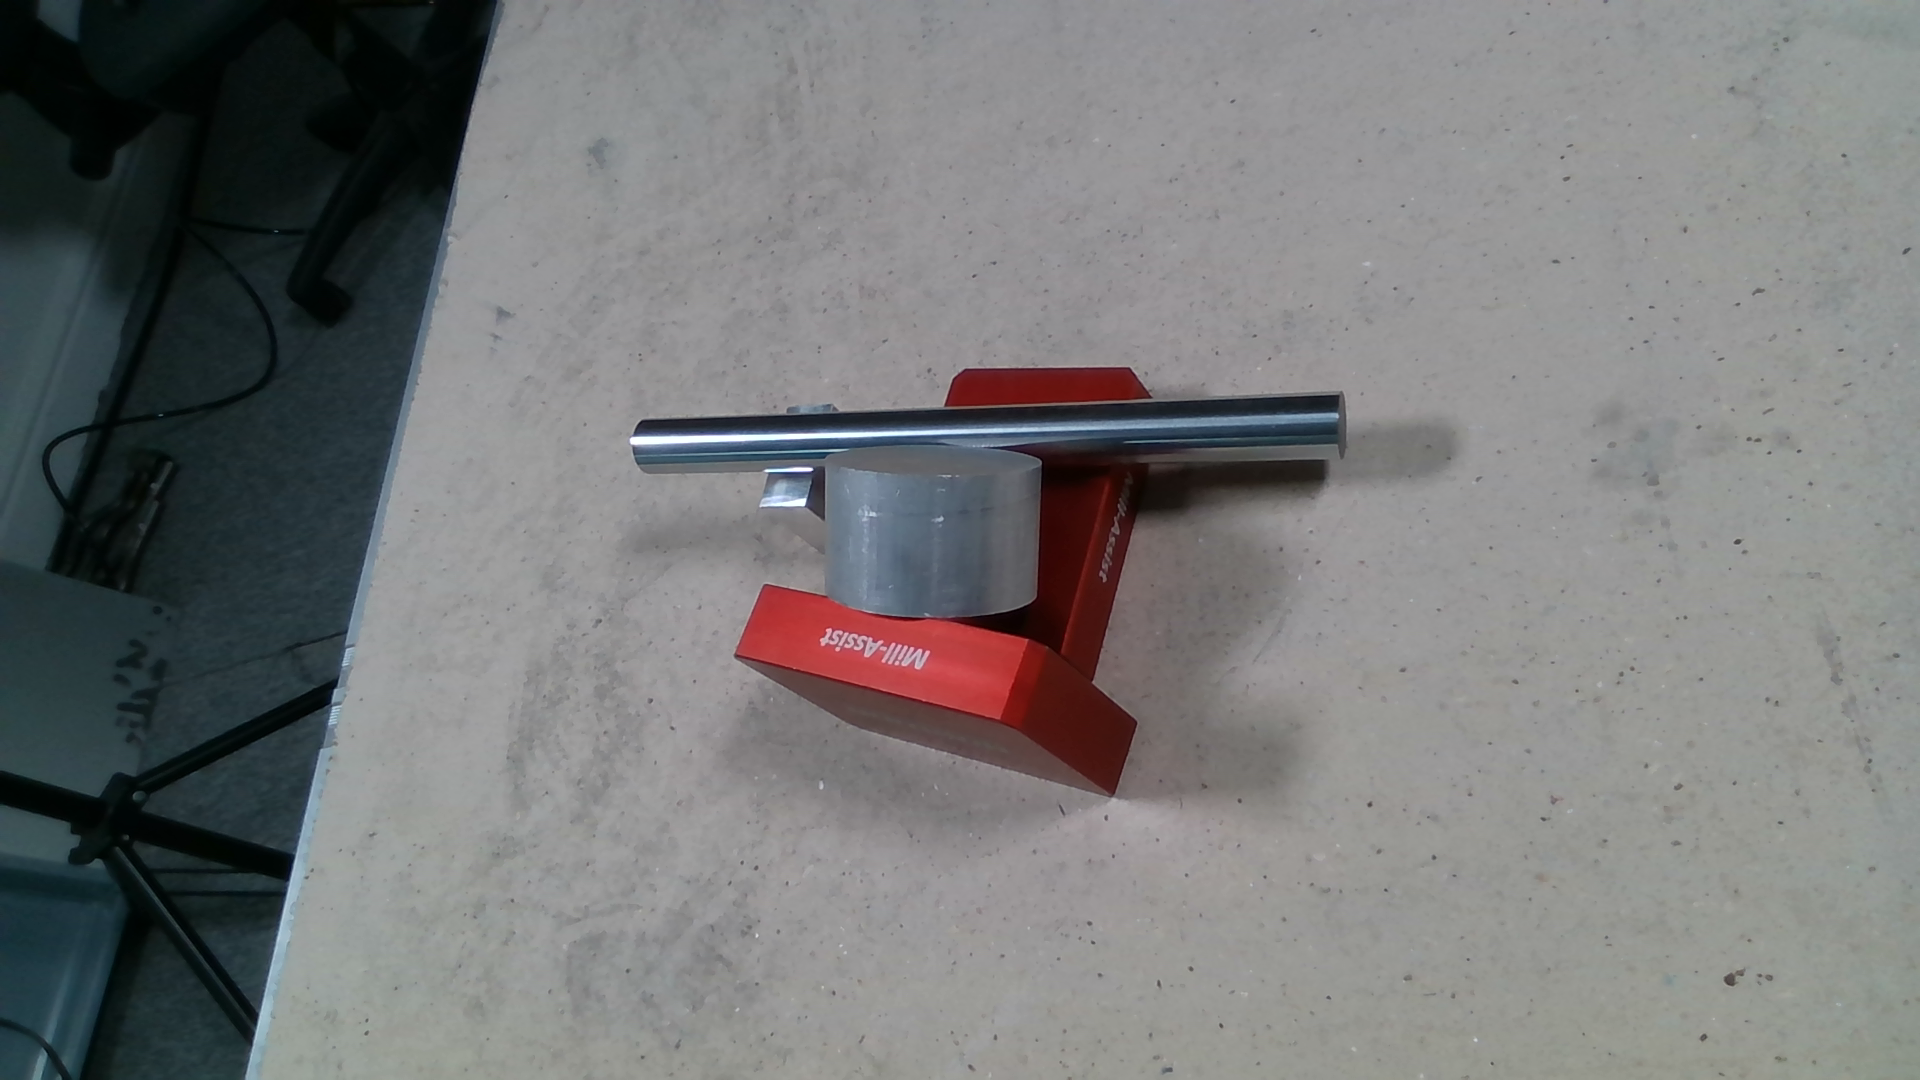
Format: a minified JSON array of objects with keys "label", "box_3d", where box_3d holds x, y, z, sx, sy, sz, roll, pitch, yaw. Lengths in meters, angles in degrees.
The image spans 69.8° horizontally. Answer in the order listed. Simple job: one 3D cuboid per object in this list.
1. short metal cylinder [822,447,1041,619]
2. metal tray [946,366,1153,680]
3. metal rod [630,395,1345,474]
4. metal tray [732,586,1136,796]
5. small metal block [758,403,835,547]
[{"label":"short metal cylinder","box_3d":[-0.011,-0.005,0.512,0.080,0.080,0.050,10,104,35]},{"label":"metal tray","box_3d":[0.024,-0.008,0.571,0.090,0.030,0.130,4,68,33]},{"label":"metal rod","box_3d":[0.000,-0.041,0.557,0.300,0.025,0.025,0,65,22]},{"label":"metal tray","box_3d":[-0.010,0.057,0.520,0.130,0.090,0.030,9,70,35]},{"label":"small metal block","box_3d":[-0.061,-0.027,0.621,0.025,0.050,0.050,-2,65,31]}]
